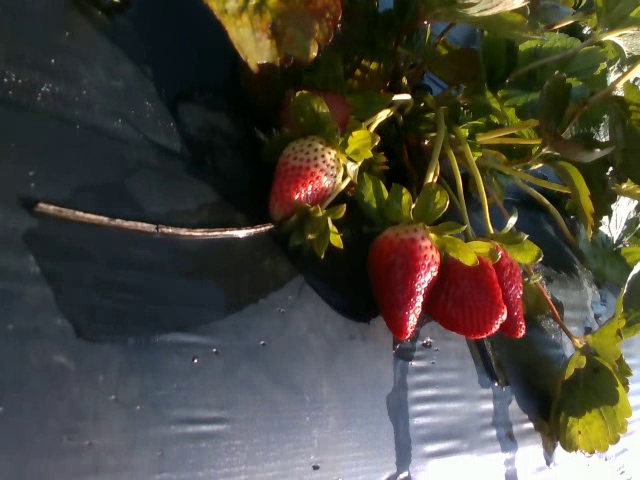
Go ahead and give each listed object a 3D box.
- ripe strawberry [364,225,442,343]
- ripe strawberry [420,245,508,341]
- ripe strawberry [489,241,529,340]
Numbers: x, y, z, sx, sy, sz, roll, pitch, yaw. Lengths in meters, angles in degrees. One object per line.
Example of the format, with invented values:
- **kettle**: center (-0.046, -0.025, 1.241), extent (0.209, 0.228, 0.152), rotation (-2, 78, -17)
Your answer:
- **ripe strawberry**: center (0.033, 0.016, 0.215), extent (0.032, 0.046, 0.023), rotation (15, -14, -40)
- **ripe strawberry**: center (0.059, 0.022, 0.228), extent (0.030, 0.037, 0.039), rotation (28, 18, -39)
- **ripe strawberry**: center (0.078, 0.027, 0.249), extent (0.035, 0.041, 0.034), rotation (9, -47, -39)
